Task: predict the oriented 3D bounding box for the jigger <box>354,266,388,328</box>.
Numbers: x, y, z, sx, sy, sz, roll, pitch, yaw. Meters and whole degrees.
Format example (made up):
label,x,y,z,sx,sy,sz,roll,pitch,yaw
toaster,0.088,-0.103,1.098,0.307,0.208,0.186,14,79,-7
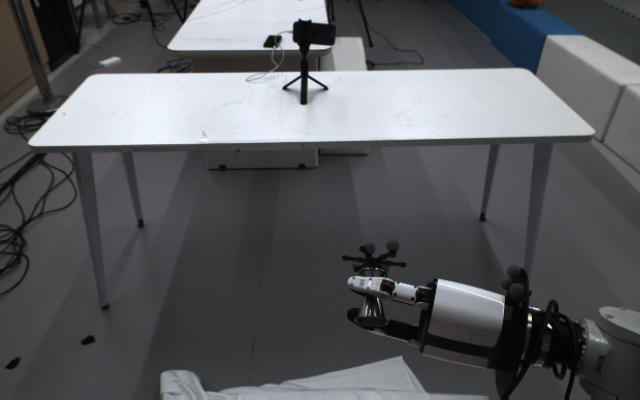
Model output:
label,x,y,z,sx,sy,sz,roll,pitch,yaw
jigger,0.068,0.127,0.646,0.043,0.043,0.071,5,61,4
